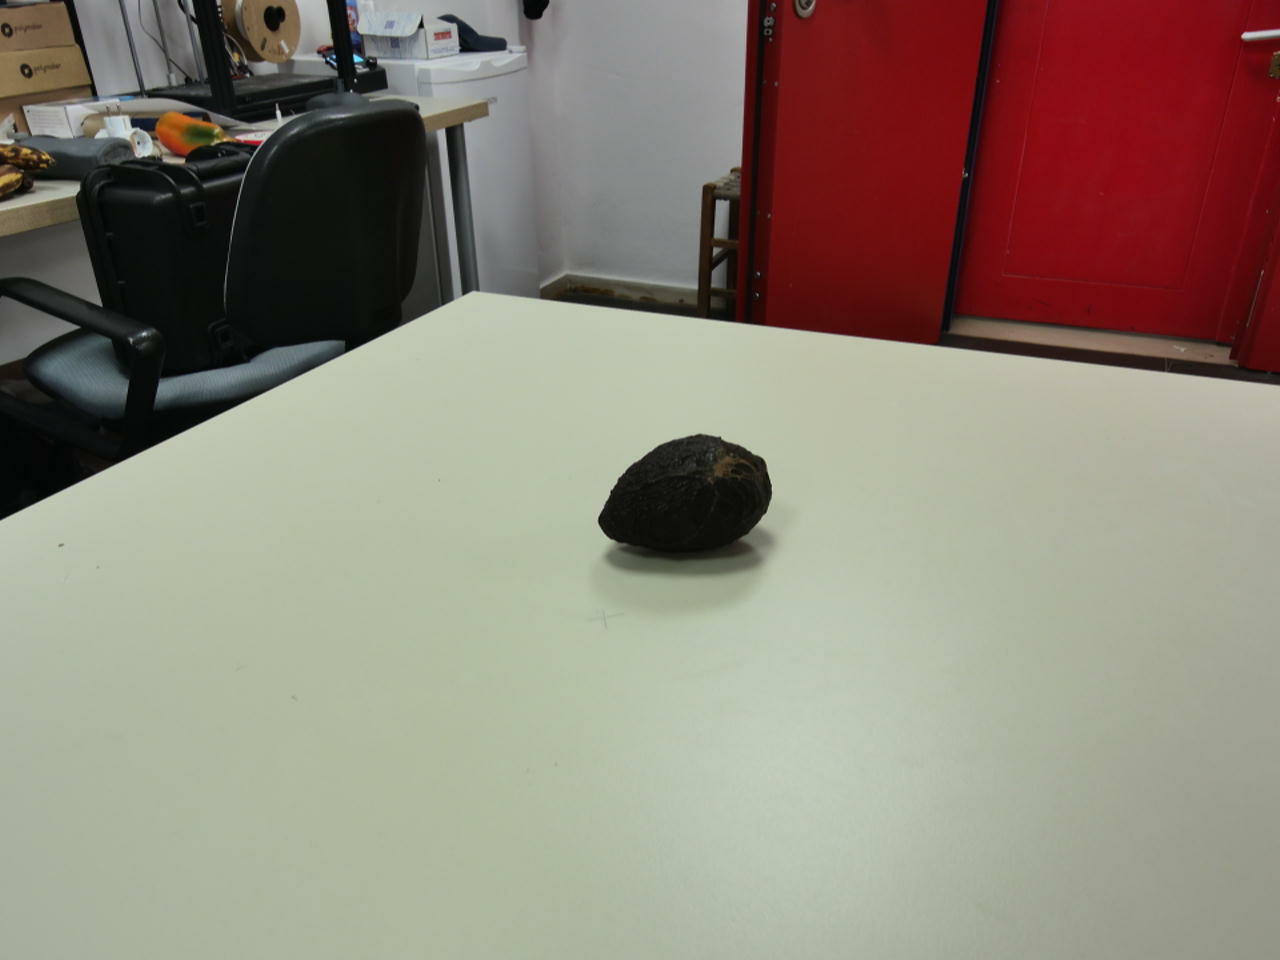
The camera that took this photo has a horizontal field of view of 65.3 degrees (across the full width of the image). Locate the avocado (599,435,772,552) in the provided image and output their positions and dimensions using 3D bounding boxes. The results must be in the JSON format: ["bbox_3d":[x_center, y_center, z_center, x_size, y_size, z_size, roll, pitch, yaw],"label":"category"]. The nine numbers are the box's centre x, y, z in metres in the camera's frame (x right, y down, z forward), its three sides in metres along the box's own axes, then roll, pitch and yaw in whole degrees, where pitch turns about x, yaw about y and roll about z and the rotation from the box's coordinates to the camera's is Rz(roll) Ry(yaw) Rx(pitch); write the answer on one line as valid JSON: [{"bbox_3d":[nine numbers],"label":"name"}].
[{"bbox_3d":[0.025,0.007,0.538,0.092,0.062,0.062,1,25,1],"label":"avocado"}]
